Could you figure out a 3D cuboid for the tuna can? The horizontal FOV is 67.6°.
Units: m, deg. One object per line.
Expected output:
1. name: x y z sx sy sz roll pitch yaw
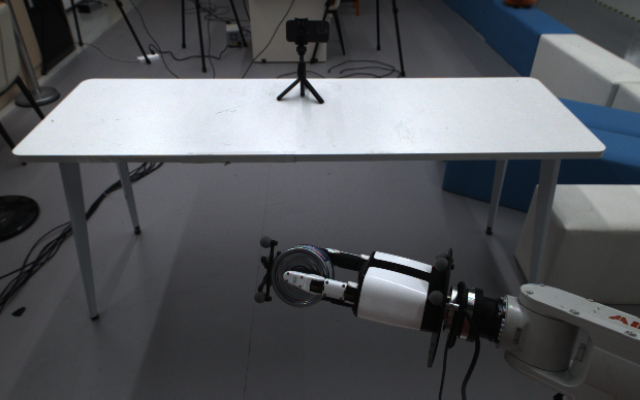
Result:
1. tuna can: -0.022 0.109 0.676 0.085 0.085 0.034 10 2 11
